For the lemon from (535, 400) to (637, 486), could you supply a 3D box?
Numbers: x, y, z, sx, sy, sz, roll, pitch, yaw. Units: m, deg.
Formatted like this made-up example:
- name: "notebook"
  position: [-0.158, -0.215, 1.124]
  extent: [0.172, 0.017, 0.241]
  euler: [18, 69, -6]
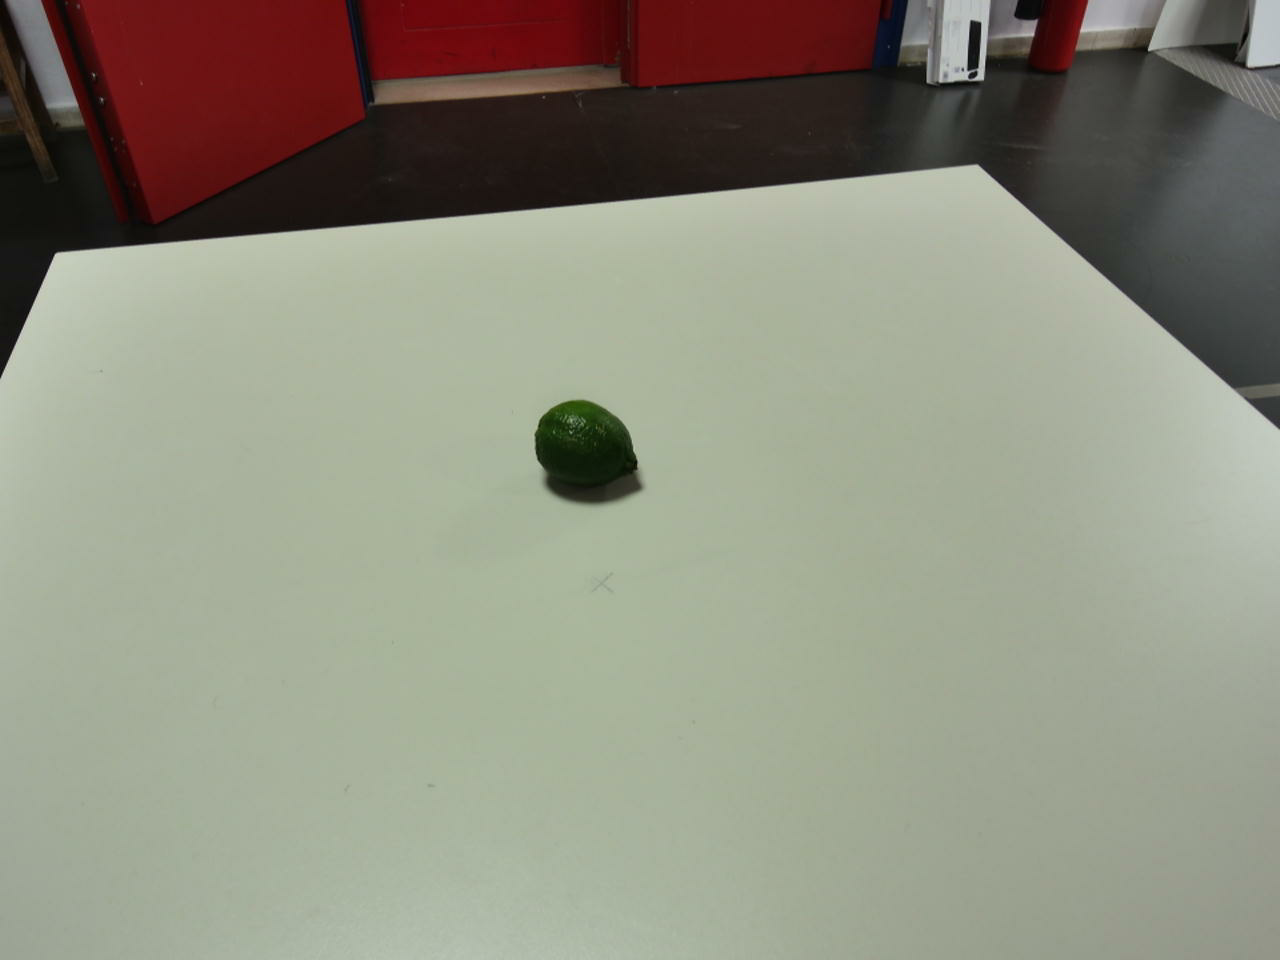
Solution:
- name: "lemon"
  position: [-0.034, -0.023, 0.597]
  extent: [0.057, 0.051, 0.054]
  euler: [-11, 40, -13]
